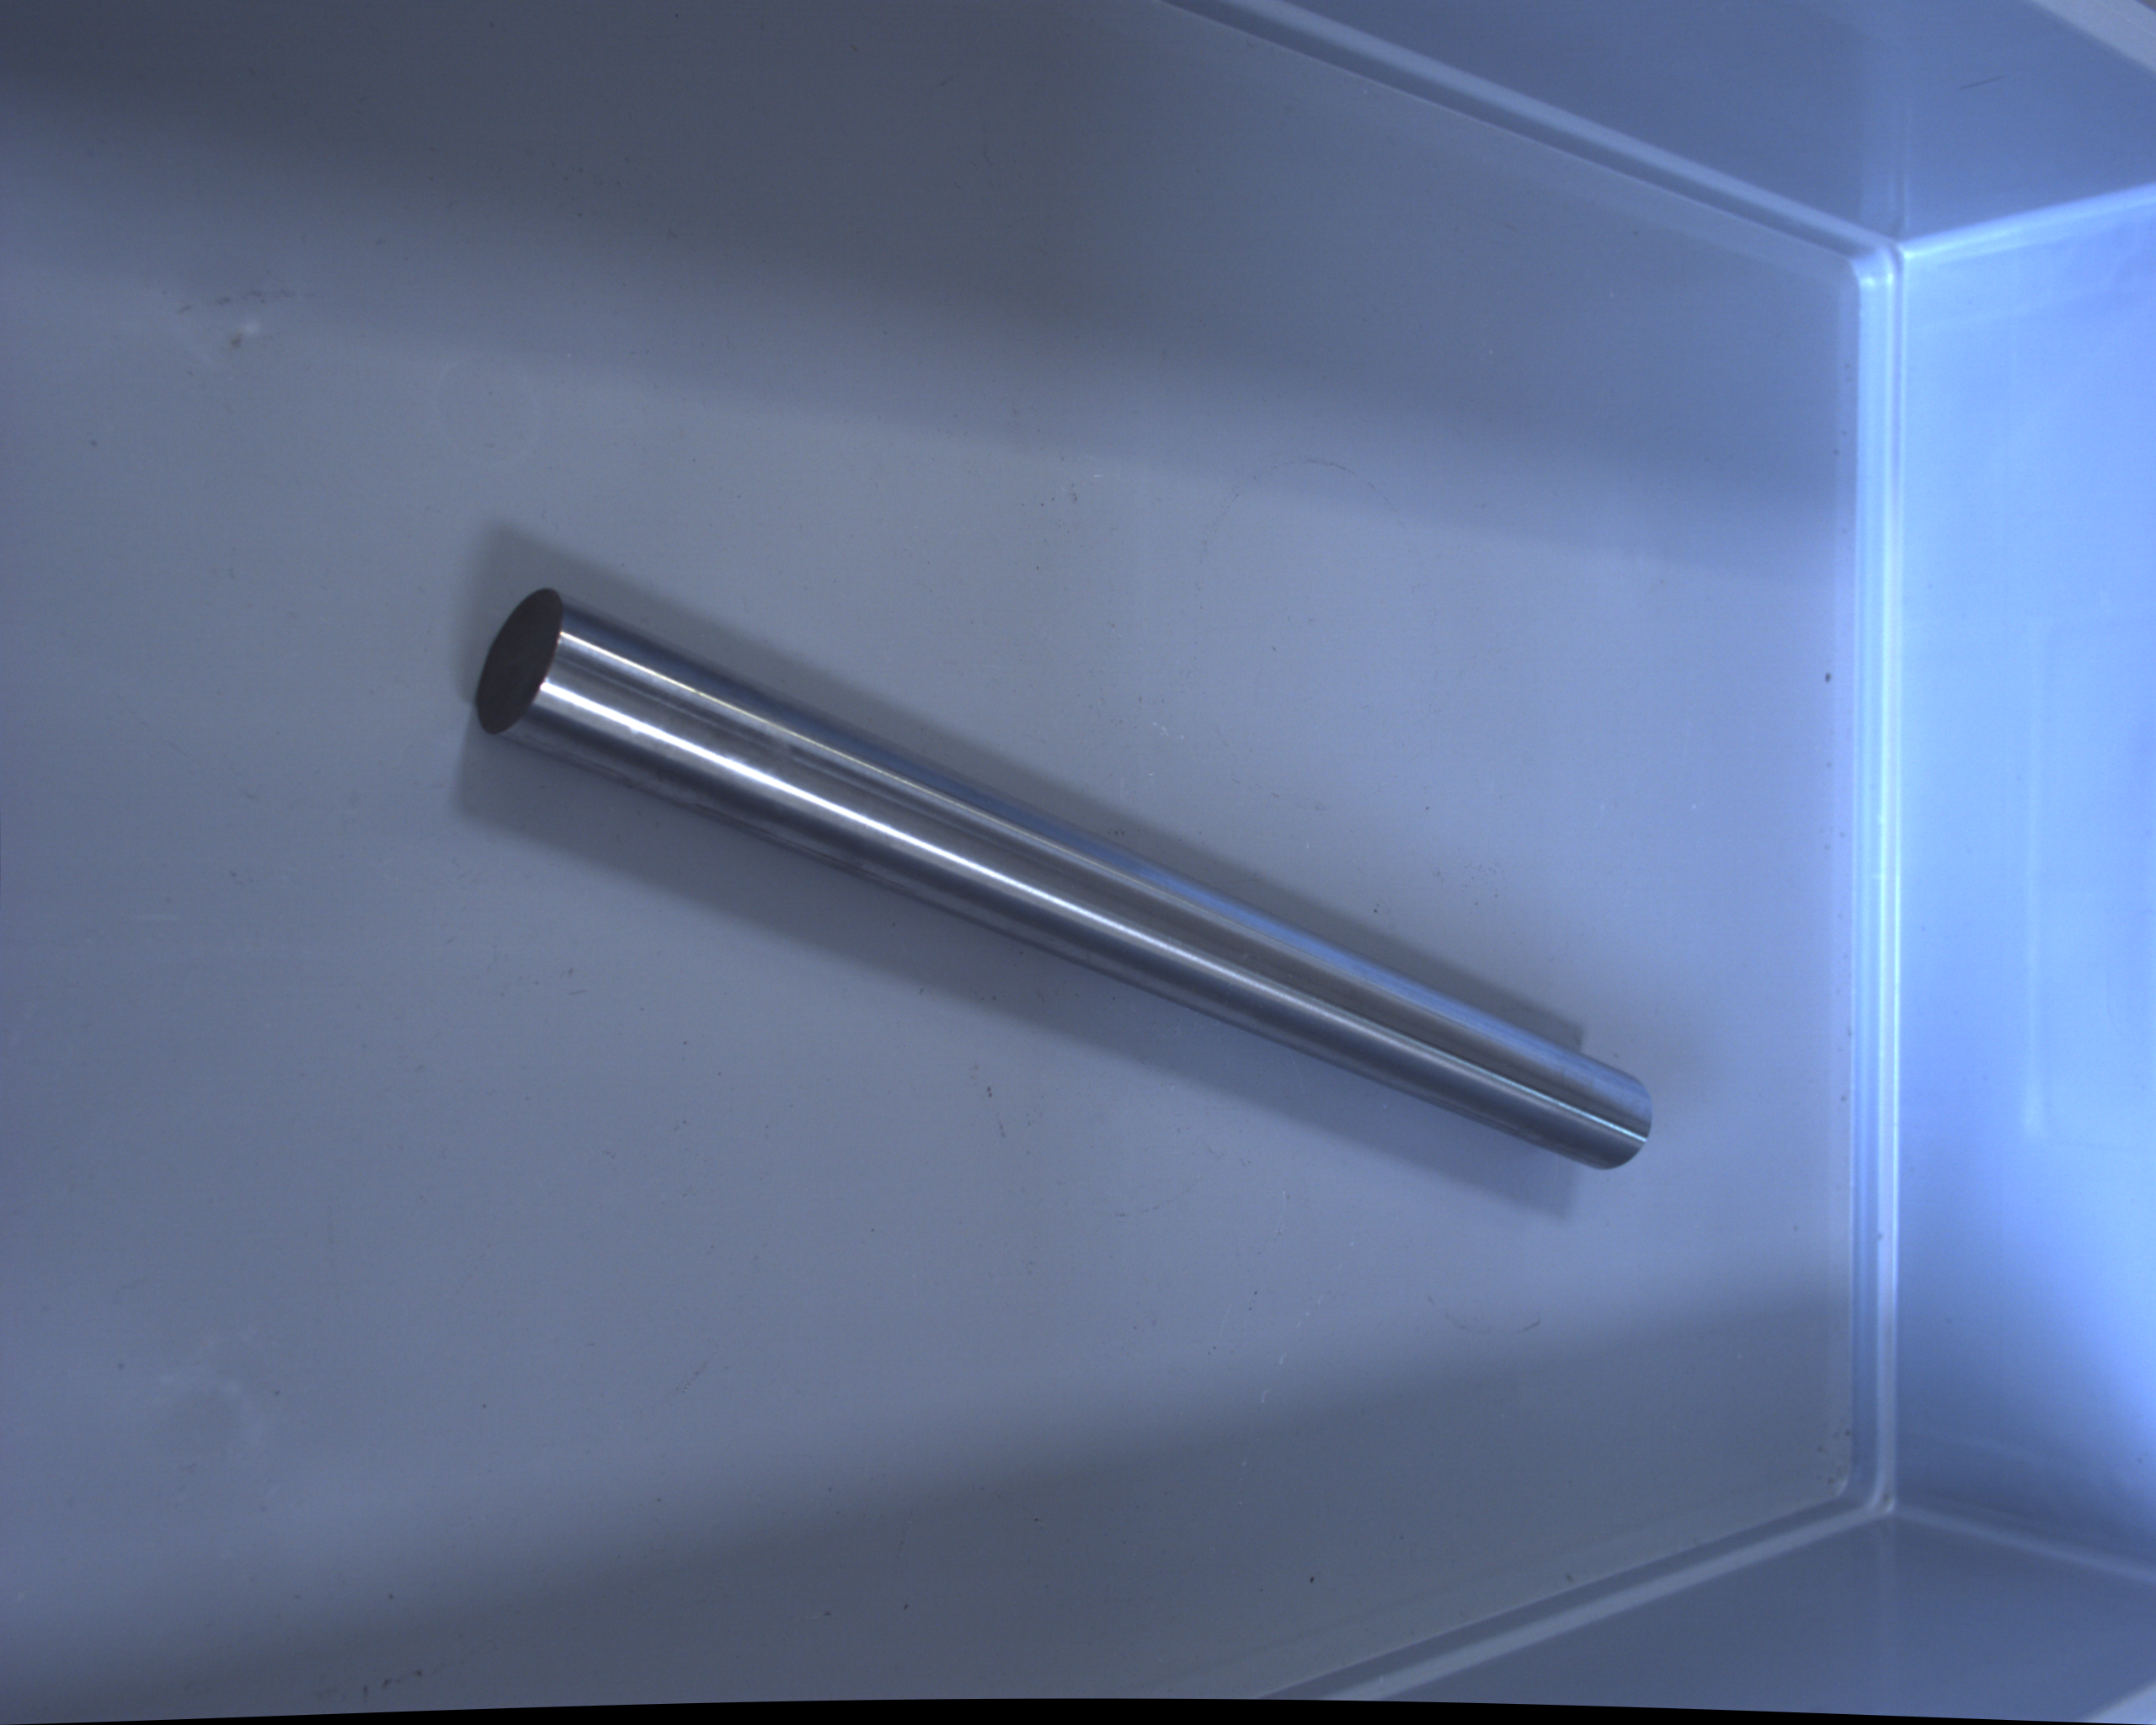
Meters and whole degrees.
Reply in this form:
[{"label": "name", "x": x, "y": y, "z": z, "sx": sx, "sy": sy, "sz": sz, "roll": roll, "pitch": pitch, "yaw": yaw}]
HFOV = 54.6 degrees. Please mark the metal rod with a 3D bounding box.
[{"label": "metal rod", "x": 0.021, "y": 0.016, "z": 0.421, "sx": 0.302, "sy": 0.025, "sz": 0.025, "roll": 23, "pitch": 75, "yaw": -37}]
